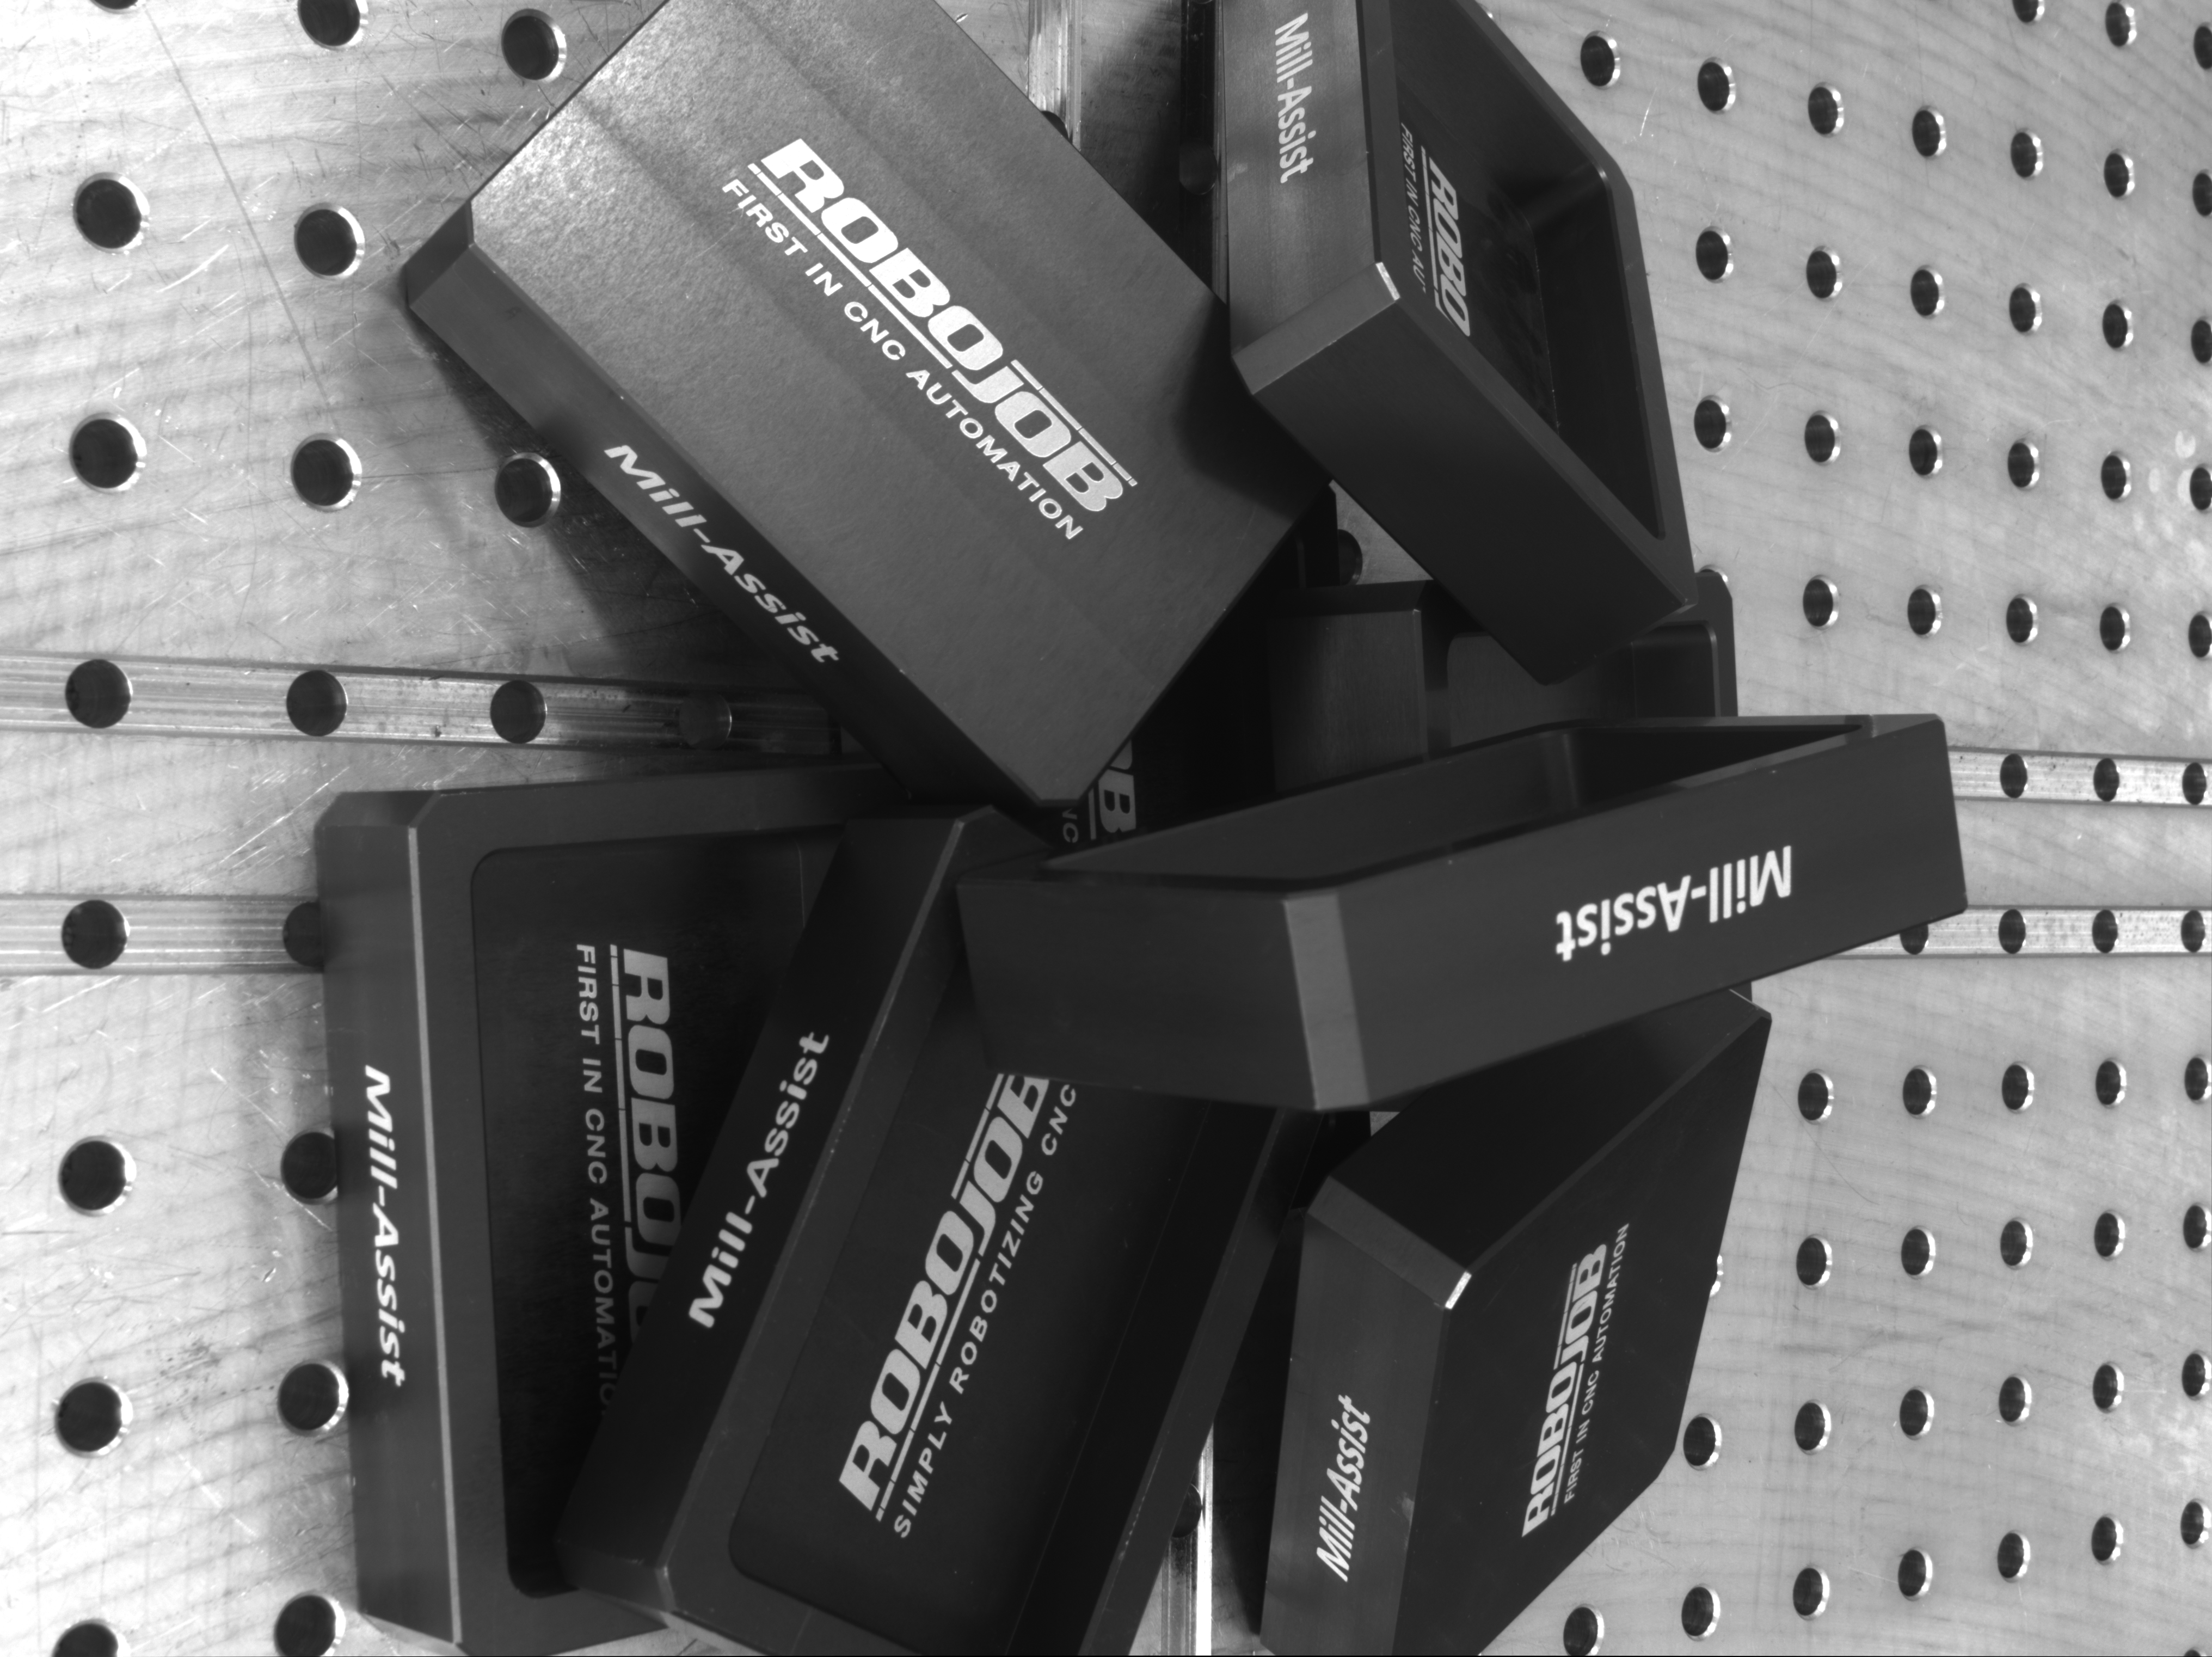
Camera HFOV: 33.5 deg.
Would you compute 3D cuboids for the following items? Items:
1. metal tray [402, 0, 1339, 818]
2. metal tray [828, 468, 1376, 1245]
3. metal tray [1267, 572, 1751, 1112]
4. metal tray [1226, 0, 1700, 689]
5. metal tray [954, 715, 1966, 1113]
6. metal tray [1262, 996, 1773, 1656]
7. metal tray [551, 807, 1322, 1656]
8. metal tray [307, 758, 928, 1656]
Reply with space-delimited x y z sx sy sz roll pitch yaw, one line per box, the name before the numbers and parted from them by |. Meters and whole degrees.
metal tray | -0.035 -0.074 0.586 0.130 0.030 0.090 44 63 -13
metal tray | 0.001 0.004 0.636 0.090 0.030 0.130 -6 92 -41
metal tray | 0.078 -0.001 0.677 0.130 0.030 0.090 -7 95 -57
metal tray | 0.061 -0.098 0.643 0.090 0.030 0.130 40 33 -32
metal tray | 0.054 0.010 0.559 0.130 0.090 0.030 -14 99 -34
metal tray | 0.071 0.091 0.652 0.090 0.030 0.130 -35 145 -34
metal tray | -0.022 0.073 0.579 0.090 0.030 0.130 33 70 -35
metal tray | -0.074 0.057 0.575 0.090 0.030 0.130 -5 93 -40
